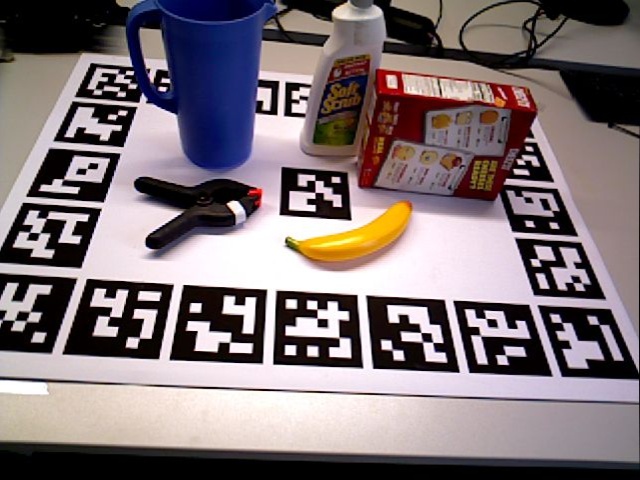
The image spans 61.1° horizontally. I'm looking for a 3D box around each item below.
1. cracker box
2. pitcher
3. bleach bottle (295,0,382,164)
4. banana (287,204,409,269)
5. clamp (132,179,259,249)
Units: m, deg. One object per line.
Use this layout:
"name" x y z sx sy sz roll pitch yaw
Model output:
"cracker box" 0.175 -0.141 0.755 0.212 0.168 0.070 5 45 -2
"pitcher" -0.157 -0.226 0.717 0.186 0.248 0.132 -8 49 -20
"bleach bottle" 0.025 -0.227 0.772 0.102 0.257 0.067 5 47 -5
"banana" 0.055 -0.003 0.730 0.193 0.040 0.074 -23 55 -26
"clamp" -0.161 -0.044 0.723 0.163 0.037 0.120 -7 48 -17
